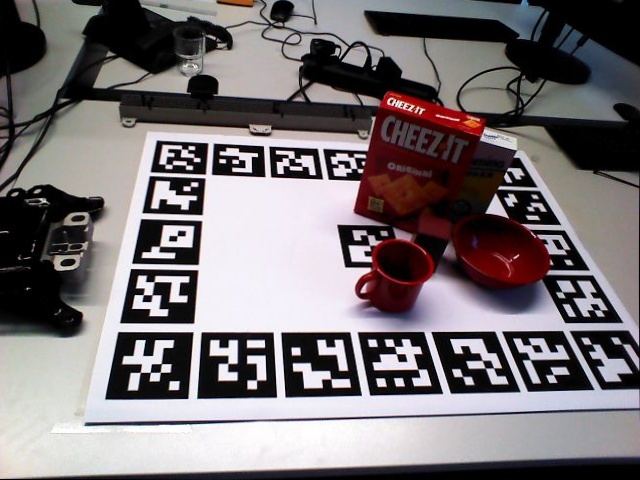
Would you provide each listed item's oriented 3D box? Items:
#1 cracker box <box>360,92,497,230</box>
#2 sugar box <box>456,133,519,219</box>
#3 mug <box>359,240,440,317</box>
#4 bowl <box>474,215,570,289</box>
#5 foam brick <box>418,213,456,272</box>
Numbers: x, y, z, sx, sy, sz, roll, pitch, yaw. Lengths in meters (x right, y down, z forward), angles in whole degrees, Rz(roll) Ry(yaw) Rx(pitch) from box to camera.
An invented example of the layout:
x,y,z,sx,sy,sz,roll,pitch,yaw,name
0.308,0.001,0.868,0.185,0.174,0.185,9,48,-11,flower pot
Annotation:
x,y,z,sx,sy,sz,roll,pitch,yaw,name
0.171,-0.117,0.862,0.165,0.215,0.071,23,44,12,cracker box
0.278,-0.111,0.898,0.093,0.177,0.045,16,45,7,sugar box
0.114,0.060,0.760,0.117,0.082,0.093,-6,38,-13,mug
0.311,0.028,0.835,0.162,0.055,0.160,5,45,-5,bowl
0.186,0.005,0.843,0.053,0.078,0.051,12,43,4,foam brick
